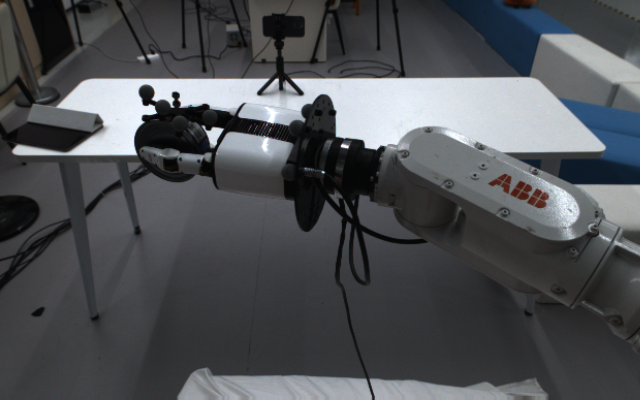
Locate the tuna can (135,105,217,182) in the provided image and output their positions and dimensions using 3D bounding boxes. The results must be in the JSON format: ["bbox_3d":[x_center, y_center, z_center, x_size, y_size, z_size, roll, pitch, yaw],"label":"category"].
[{"bbox_3d":[-0.180,-0.065,0.597,0.085,0.085,0.034,9,35,10],"label":"tuna can"}]
